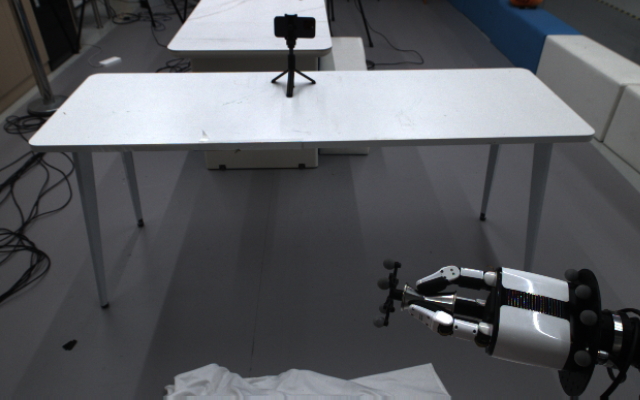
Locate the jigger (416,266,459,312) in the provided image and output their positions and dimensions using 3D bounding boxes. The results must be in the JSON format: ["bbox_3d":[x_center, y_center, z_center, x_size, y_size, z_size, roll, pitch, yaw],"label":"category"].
[{"bbox_3d":[0.153,0.134,0.654,0.071,0.043,0.043,9,35,17],"label":"jigger"}]
